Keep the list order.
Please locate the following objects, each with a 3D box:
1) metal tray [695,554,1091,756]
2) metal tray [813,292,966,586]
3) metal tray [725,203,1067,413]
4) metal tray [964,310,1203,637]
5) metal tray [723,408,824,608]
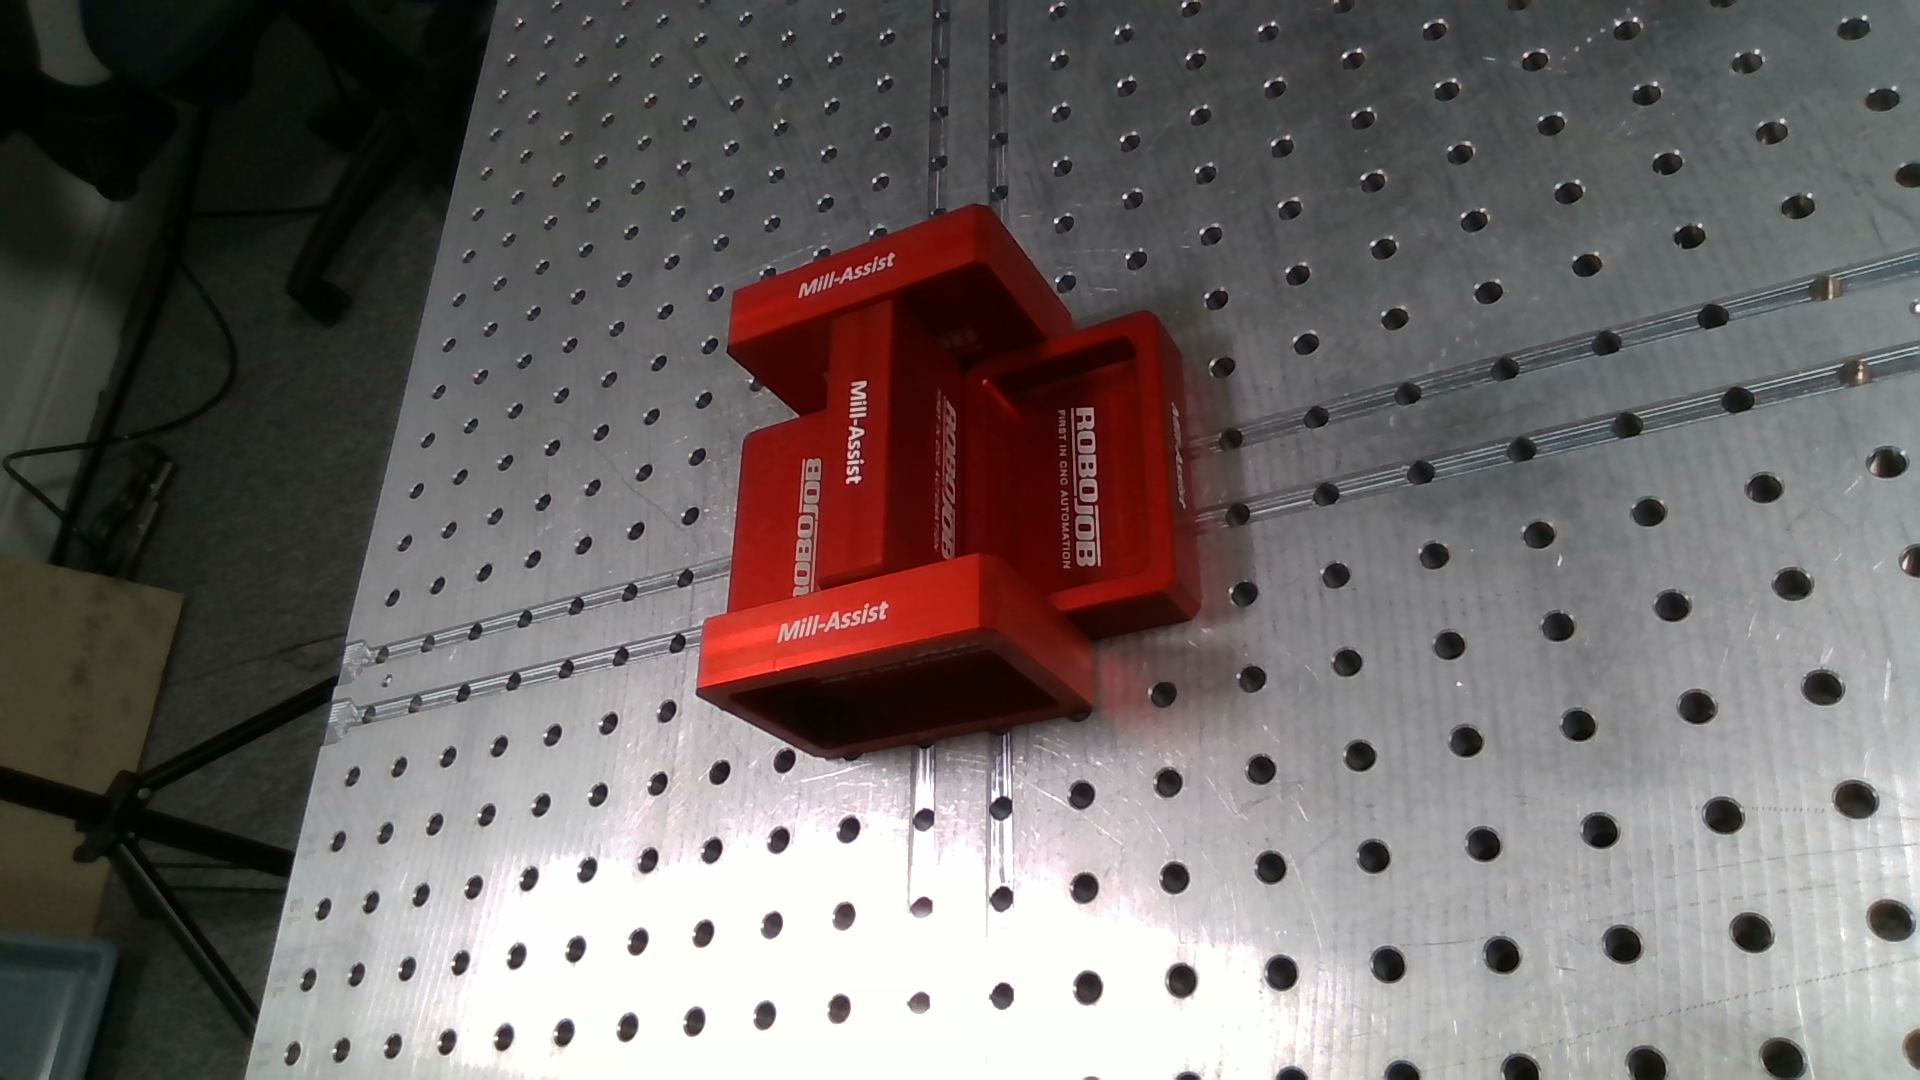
[{"bbox_3d":[-0.025,0.049,0.535,0.130,0.090,0.030,-14,59,25],"label":"metal tray"},{"bbox_3d":[-0.020,-0.024,0.570,0.030,0.090,0.130,-14,59,25],"label":"metal tray"},{"bbox_3d":[-0.026,-0.092,0.611,0.130,0.090,0.030,-14,59,25],"label":"metal tray"},{"bbox_3d":[0.048,-0.024,0.568,0.090,0.030,0.130,-14,59,25],"label":"metal tray"},{"bbox_3d":[-0.060,0.002,0.619,0.090,0.030,0.130,-14,59,25],"label":"metal tray"}]
